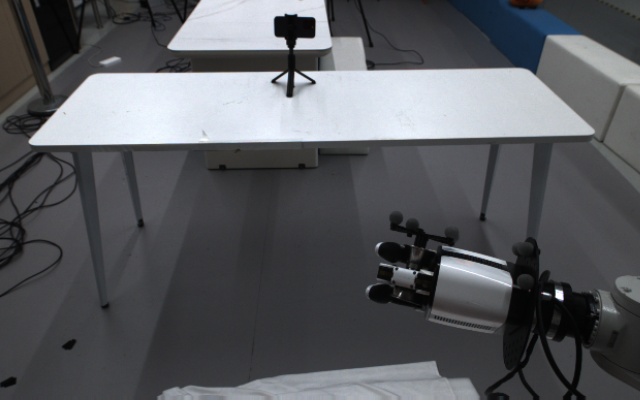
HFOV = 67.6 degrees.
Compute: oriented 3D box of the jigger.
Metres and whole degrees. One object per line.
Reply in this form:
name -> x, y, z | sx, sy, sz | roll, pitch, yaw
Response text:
jigger -> 0.120, 0.093, 0.611 | 0.043, 0.071, 0.043 | 16, -7, 2
